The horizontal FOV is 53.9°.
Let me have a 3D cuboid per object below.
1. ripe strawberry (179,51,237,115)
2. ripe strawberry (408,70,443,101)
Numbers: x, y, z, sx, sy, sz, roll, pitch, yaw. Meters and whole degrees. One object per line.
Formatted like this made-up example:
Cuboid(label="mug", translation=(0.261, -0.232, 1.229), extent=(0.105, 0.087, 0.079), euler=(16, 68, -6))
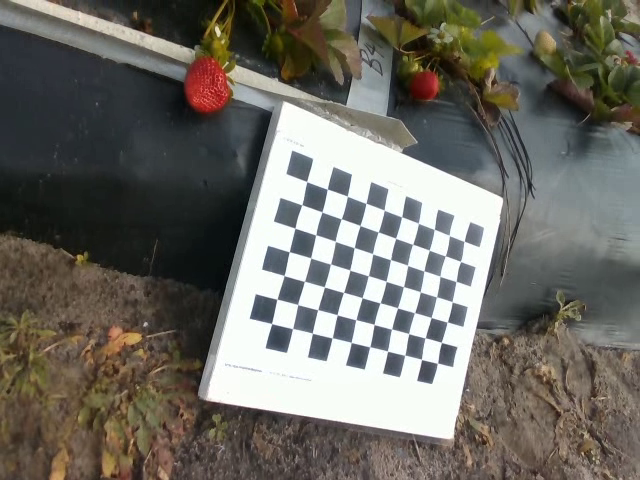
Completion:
Cuboid(label="ripe strawberry", translation=(-0.089, -0.118, 0.485), extent=(0.030, 0.048, 0.053), euler=(-16, 24, 38))
Cuboid(label="ripe strawberry", translation=(0.113, -0.160, 0.653), extent=(0.037, 0.031, 0.048), euler=(33, 21, -26))
